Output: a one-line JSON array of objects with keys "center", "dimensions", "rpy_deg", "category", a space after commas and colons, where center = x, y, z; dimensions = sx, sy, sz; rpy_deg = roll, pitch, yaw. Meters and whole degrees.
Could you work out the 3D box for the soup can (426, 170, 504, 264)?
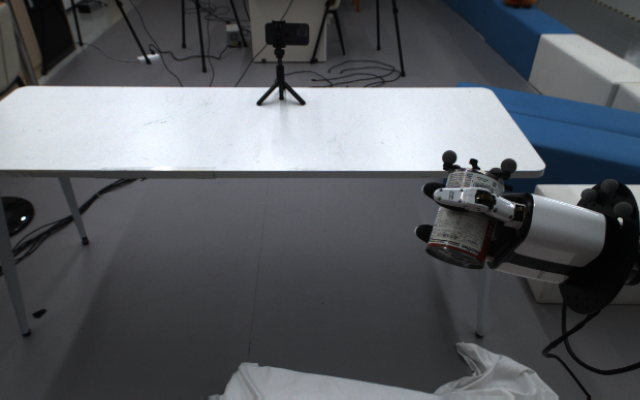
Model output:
[{"center": [0.172, 0.020, 0.570], "dimensions": [0.067, 0.067, 0.101], "rpy_deg": [16, 75, 19], "category": "soup can"}]
